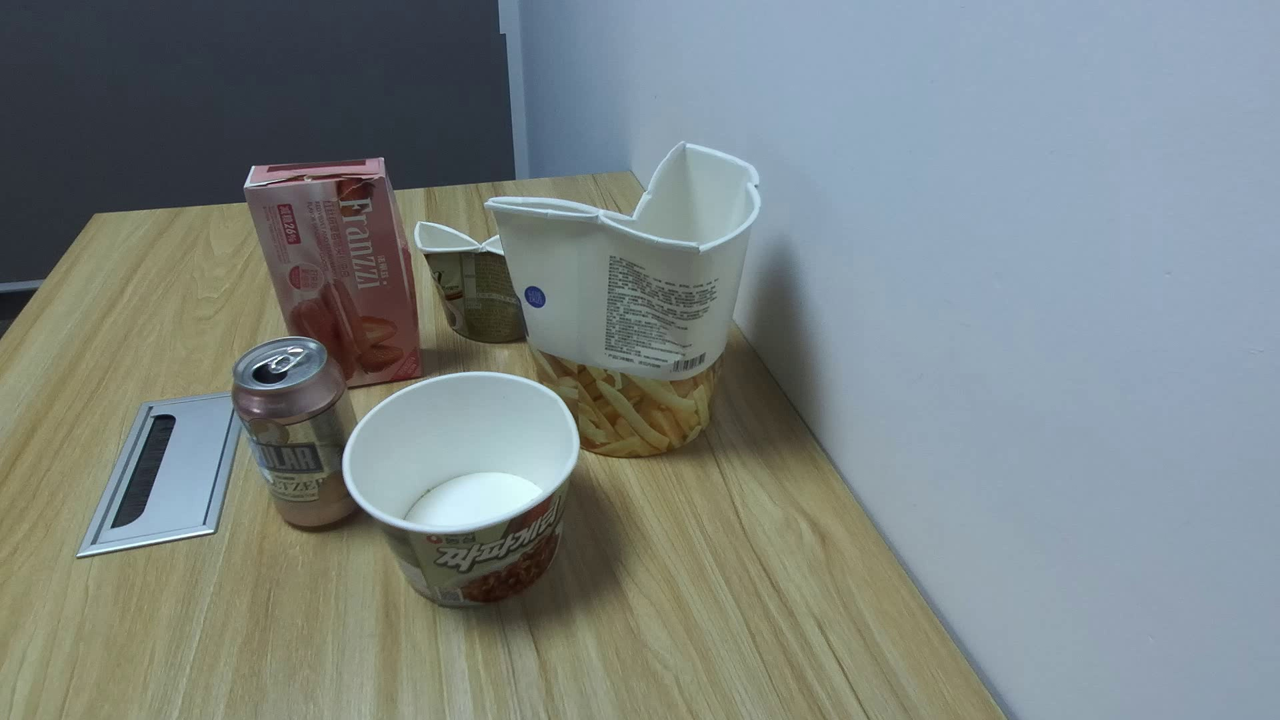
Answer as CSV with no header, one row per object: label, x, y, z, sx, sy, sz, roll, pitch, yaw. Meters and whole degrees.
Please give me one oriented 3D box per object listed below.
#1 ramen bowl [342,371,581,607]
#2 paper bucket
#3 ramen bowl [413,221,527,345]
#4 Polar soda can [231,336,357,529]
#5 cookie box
ramen bowl,-0.108,0.087,0.456,0.140,0.095,0.140,2,36,-1
paper bucket,0.000,-0.049,0.553,0.168,0.202,0.163,18,39,17
ramen bowl,-0.142,-0.086,0.680,0.128,0.093,0.111,4,37,6
Polar soda can,-0.223,0.050,0.471,0.067,0.126,0.067,0,36,0
cookie box,-0.237,-0.067,0.573,0.105,0.188,0.048,-10,38,-17
